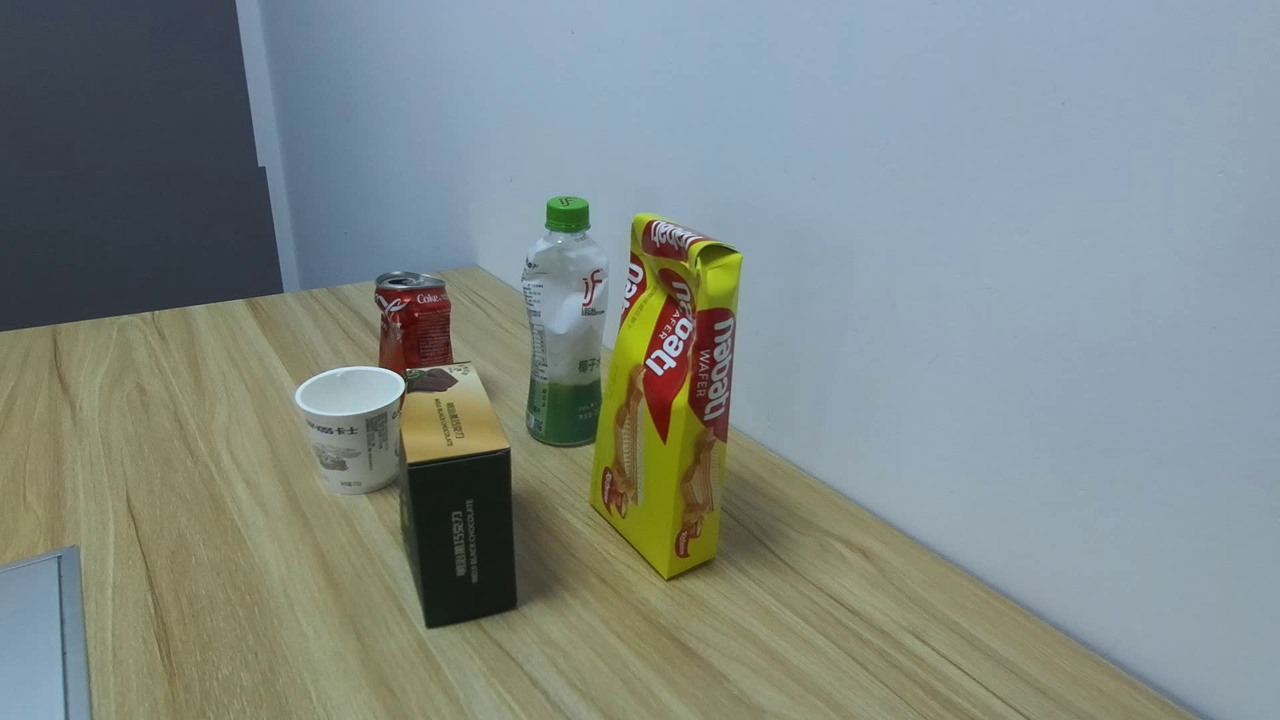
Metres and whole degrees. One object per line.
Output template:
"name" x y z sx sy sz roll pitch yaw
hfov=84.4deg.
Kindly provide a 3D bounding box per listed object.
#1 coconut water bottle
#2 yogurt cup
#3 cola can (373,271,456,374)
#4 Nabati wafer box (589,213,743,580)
"coconut water bottle" -0.054 -0.028 0.540 0.069 0.187 0.069 5 22 -2
"yogurt cup" -0.198 0.050 0.492 0.072 0.068 0.072 3 25 -1
"cola can" -0.187 -0.010 0.582 0.066 0.112 0.069 -1 18 -16
"Nabati wafer box" 0.013 0.022 0.426 0.043 0.205 0.112 -12 28 -32
